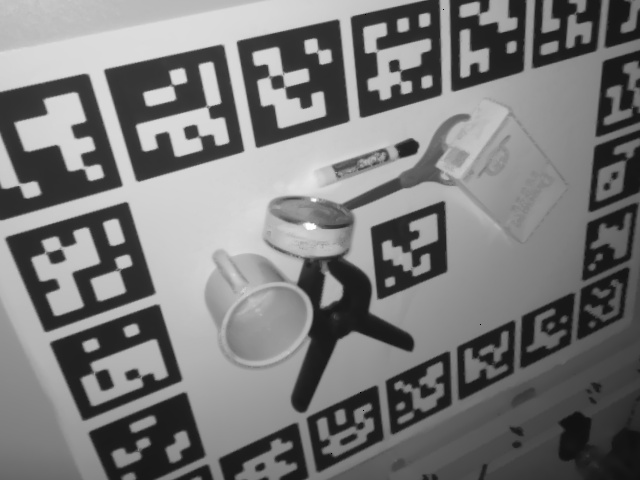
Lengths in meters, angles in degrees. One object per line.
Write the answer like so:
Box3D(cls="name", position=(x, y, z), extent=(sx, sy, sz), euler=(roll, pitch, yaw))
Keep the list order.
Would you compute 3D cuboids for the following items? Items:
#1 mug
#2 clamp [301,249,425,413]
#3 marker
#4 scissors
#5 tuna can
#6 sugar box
Box3D(cls="mug", position=(-0.056, 0.043, 0.672), extent=(0.093, 0.081, 0.117), euler=(-43, 127, -2))
Box3D(cls="clamp", position=(0.029, 0.081, 0.767), extent=(0.167, 0.036, 0.202), euler=(-29, 121, -12))
Box3D(cls="marker", position=(0.066, -0.095, 0.704), extent=(0.122, 0.019, 0.019), euler=(-23, 120, -16))
Box3D(cls="scissors", position=(0.115, -0.073, 0.735), extent=(0.204, 0.016, 0.087), euler=(-28, 126, -11))
Box3D(cls="tuna can", position=(-0.008, -0.020, 0.661), extent=(0.087, 0.085, 0.033), euler=(-3, 114, -25))
Box3D(cls="sugar box", position=(0.222, -0.081, 0.766), extent=(0.093, 0.045, 0.178), euler=(-51, 130, 3))
